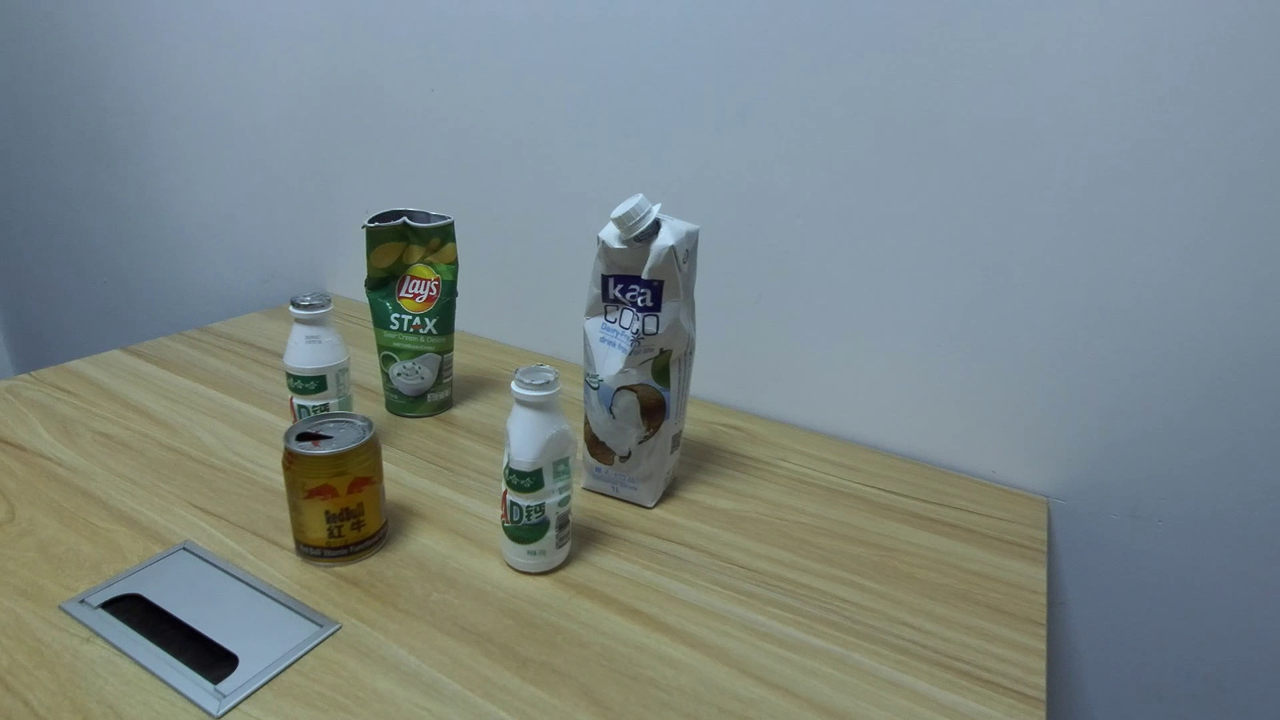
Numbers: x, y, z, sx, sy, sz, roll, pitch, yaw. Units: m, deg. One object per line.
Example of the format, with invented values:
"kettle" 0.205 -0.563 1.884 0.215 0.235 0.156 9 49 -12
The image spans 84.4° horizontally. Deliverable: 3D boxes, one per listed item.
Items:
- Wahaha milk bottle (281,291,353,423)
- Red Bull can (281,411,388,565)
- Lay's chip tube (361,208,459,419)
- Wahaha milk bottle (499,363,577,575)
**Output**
"Wahaha milk bottle" -0.278 0.017 0.613 0.053 0.147 0.053 3 23 -1
"Red Bull can" -0.220 0.093 0.513 0.067 0.093 0.067 3 22 -1
"Lay's chip tube" -0.226 -0.046 0.706 0.077 0.201 0.069 -13 27 -29
"Wahaha milk bottle" -0.074 0.077 0.499 0.055 0.149 0.055 2 24 -1
